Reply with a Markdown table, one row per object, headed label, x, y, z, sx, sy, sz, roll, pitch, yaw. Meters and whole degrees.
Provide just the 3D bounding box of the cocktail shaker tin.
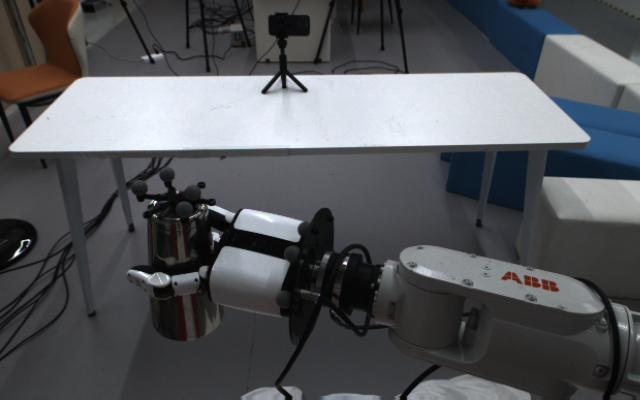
| label | x | y | z | sx | sy | sz | roll | pitch | yaw |
| --- | --- | --- | --- | --- | --- | --- | --- | --- | --- |
| cocktail shaker tin | -0.166 | 0.078 | 0.590 | 0.093 | 0.170 | 0.093 | 3 | 32 | -2 |
